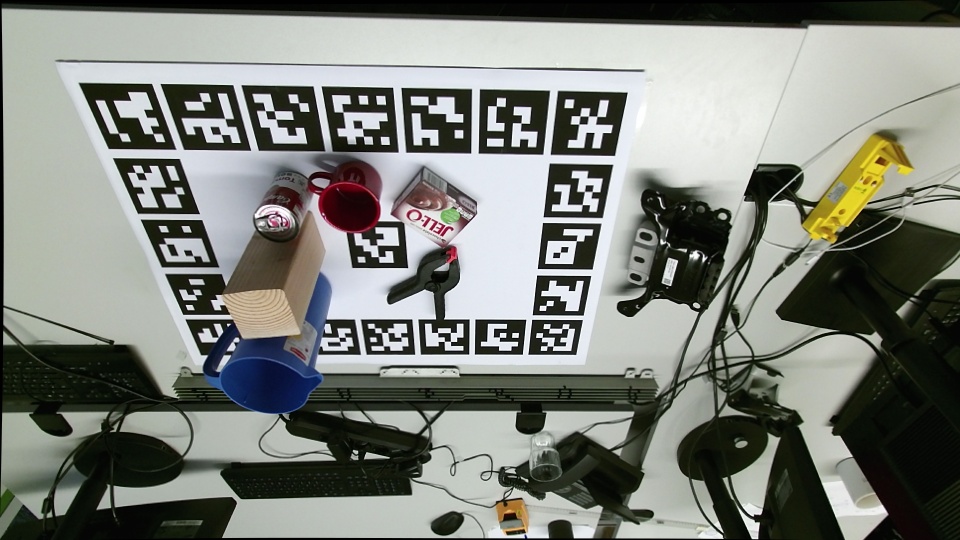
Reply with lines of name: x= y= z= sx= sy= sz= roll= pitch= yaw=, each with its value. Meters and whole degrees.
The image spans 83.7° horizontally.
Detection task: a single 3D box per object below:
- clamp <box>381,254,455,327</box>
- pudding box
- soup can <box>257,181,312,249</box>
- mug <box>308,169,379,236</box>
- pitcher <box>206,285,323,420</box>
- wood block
clamp: x=-0.097 y=0.037 z=0.987 sx=0.122 sy=0.036 sz=0.165 roll=28 pitch=121 yaw=-13
pudding box: x=-0.072 y=-0.088 z=0.886 sx=0.114 sy=0.038 sz=0.090 roll=31 pitch=117 yaw=-25
soup can: x=-0.305 y=-0.087 z=0.831 sx=0.068 sy=0.101 sz=0.068 roll=-1 pitch=125 yaw=-2
mug: x=-0.212 y=-0.110 z=0.832 sx=0.117 sy=0.081 sz=0.093 roll=30 pitch=123 yaw=-24
pitcher: x=-0.349 y=0.121 z=0.904 sx=0.189 sy=0.241 sz=0.133 roll=-3 pitch=129 yaw=-4
wood block: x=-0.323 y=0.015 z=0.843 sx=0.090 sy=0.205 sz=0.091 roll=-1 pitch=128 yaw=2
